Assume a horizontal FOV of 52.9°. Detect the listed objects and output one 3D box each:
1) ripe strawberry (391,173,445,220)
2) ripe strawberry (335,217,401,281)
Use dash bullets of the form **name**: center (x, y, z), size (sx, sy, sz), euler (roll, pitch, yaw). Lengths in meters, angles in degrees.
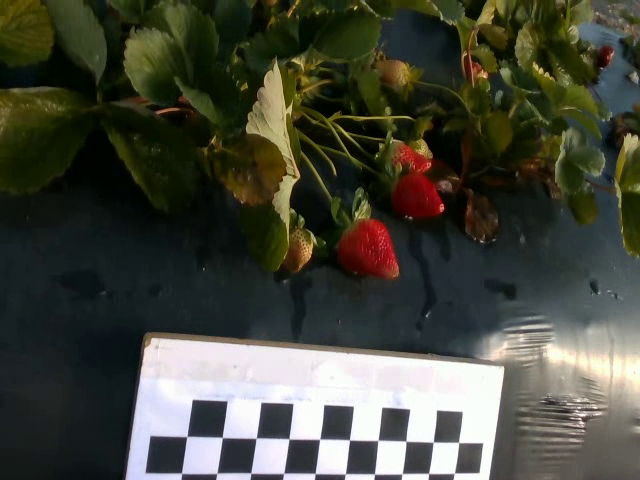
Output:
- **ripe strawberry**: center (0.089, -0.034, 0.564), size (0.055, 0.045, 0.042), euler (29, -10, 31)
- **ripe strawberry**: center (0.043, 0.010, 0.506), size (0.050, 0.050, 0.065), euler (-33, 49, -14)
